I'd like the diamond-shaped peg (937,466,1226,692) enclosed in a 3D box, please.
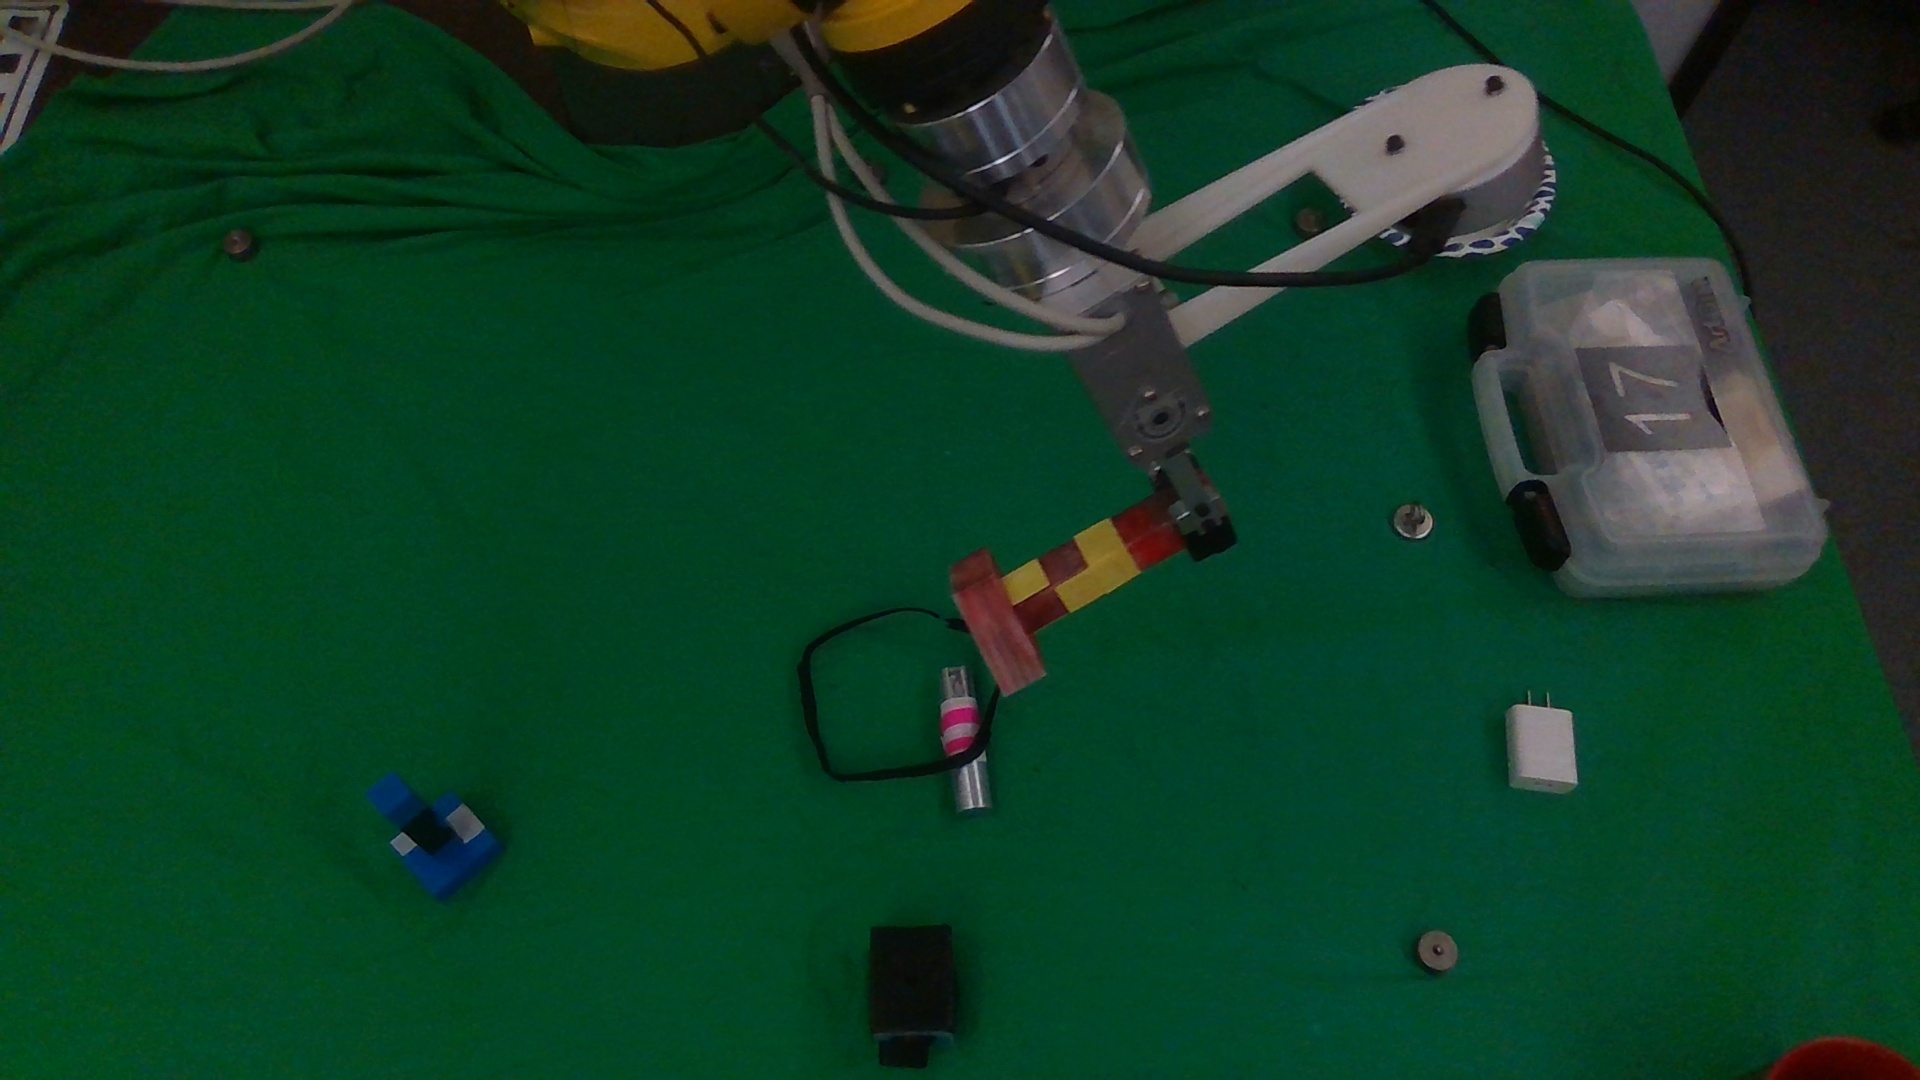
[{"bbox_3d":[0.053,0.009,0.591,0.122,0.045,0.074,-28,73,5],"label":"diamond-shaped peg"}]

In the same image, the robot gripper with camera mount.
[{"bbox_3d":[0.122,-0.098,0.540,0.193,0.158,0.119,-34,44,0],"label":"robot gripper with camera mount"}]
